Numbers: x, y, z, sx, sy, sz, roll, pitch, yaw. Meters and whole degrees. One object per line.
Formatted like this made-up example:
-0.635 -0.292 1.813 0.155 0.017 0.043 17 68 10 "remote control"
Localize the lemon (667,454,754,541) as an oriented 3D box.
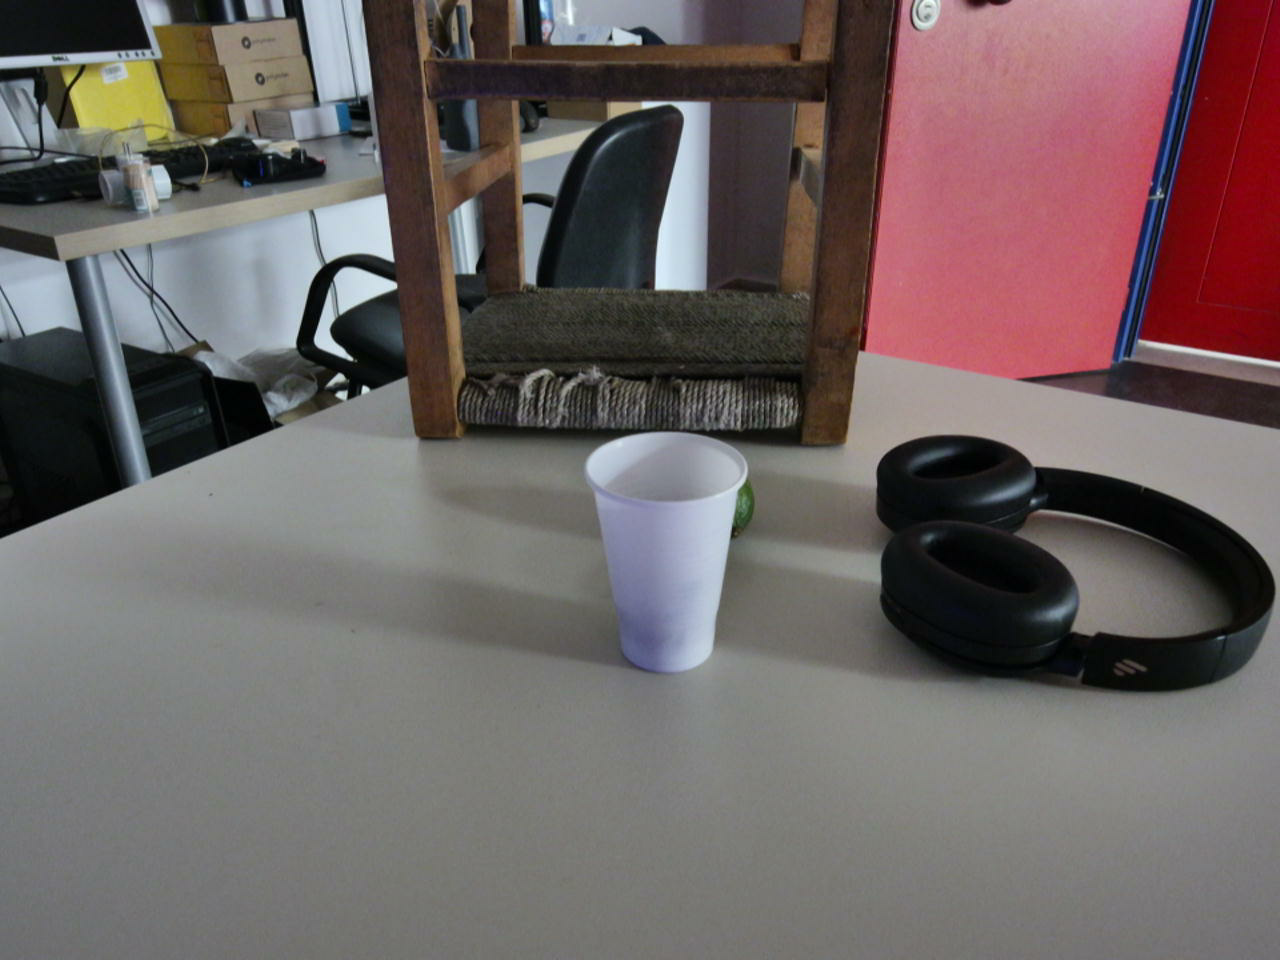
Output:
0.044 0.010 0.617 0.057 0.051 0.054 16 29 29 "lemon"
